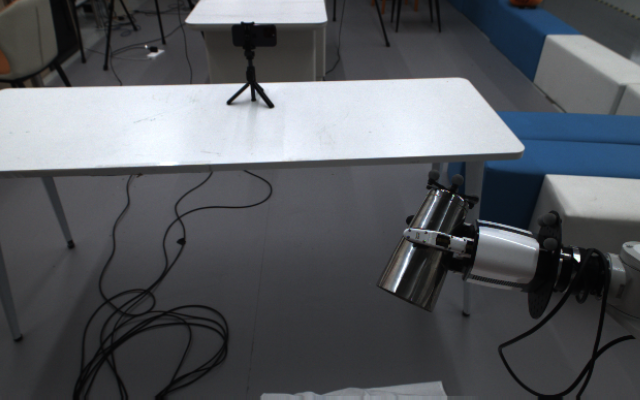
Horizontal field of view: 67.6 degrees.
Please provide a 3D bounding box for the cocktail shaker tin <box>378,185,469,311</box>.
[{"bbox_3d":[0.164,0.069,0.733,0.093,0.093,0.170,21,81,25],"label":"cocktail shaker tin"}]
